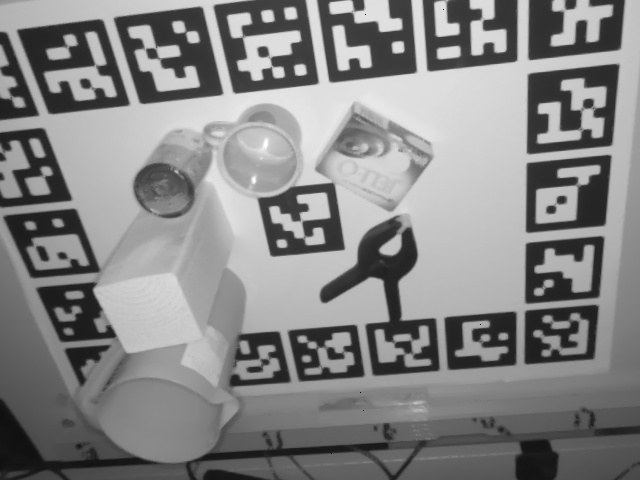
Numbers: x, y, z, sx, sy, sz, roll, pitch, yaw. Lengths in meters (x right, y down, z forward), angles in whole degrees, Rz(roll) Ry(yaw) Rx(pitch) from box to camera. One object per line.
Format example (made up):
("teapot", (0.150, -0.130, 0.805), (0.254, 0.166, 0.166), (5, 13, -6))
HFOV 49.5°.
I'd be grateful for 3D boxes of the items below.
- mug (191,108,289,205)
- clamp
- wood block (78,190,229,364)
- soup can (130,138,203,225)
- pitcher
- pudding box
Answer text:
("mug", (-0.089, -0.104, 0.790), (0.118, 0.082, 0.092), (24, 121, -12))
("clamp", (0.067, 0.044, 0.904), (0.122, 0.037, 0.163), (21, 119, -2))
("wood block", (-0.182, 0.035, 0.800), (0.089, 0.208, 0.090), (-8, 120, 12))
("soup can", (-0.178, -0.070, 0.800), (0.068, 0.103, 0.067), (1, 118, 3))
("pitcher", (-0.186, 0.149, 0.849), (0.188, 0.244, 0.132), (-9, 122, 5))
("pudding box", (0.060, -0.093, 0.819), (0.114, 0.039, 0.089), (25, 115, -13))
